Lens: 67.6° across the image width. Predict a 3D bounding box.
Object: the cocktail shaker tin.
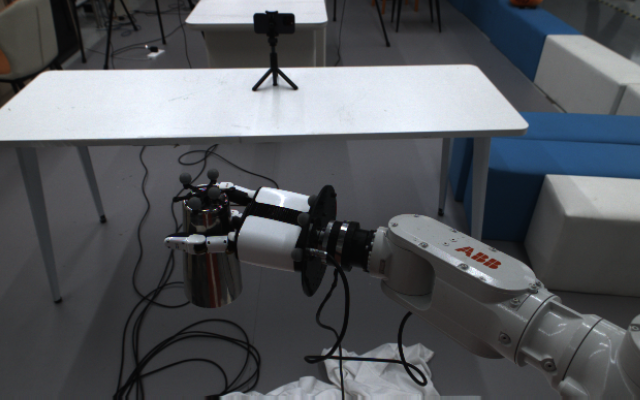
[{"bbox_3d":[-0.165,0.067,0.736,0.093,0.170,0.093,2,33,-2],"label":"cocktail shaker tin"}]
